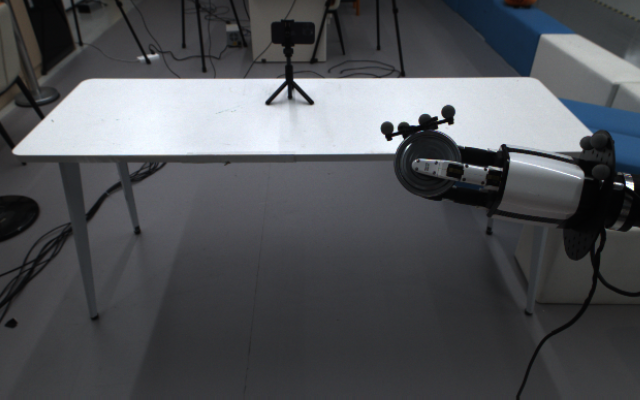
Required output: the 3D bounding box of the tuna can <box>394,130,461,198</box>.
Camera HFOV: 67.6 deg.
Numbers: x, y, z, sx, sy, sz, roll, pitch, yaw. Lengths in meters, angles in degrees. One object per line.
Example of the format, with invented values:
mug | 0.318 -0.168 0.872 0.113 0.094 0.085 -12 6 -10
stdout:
tuna can | 0.141 -0.049 0.625 0.085 0.085 0.034 12 3 14
